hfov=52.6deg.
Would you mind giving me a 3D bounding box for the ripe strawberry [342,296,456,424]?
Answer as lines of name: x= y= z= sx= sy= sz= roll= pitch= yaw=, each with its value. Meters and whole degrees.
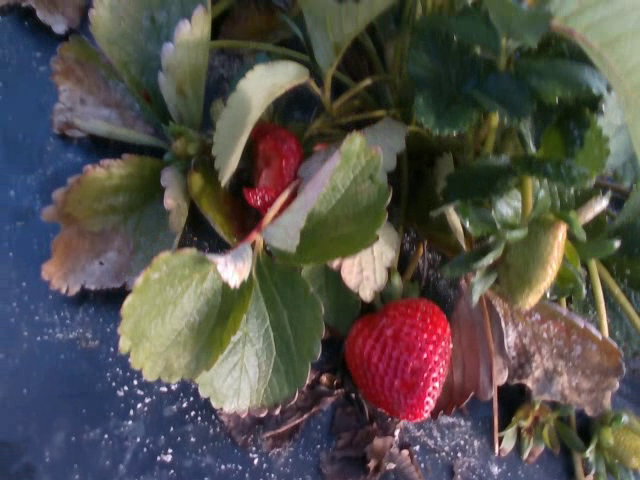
ripe strawberry: x=0.018 y=0.030 z=0.153 sx=0.031 sy=0.030 sz=0.026 roll=-5 pitch=-41 yaw=-4
